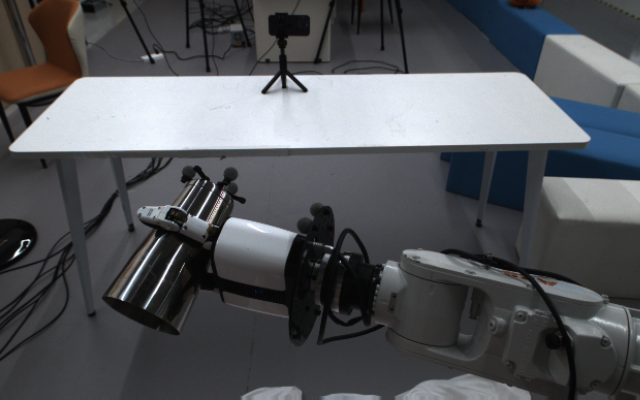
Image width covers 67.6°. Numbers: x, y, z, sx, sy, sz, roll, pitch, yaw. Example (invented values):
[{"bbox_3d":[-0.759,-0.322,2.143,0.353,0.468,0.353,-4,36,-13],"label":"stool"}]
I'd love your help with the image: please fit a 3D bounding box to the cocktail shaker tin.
[{"bbox_3d":[-0.169,0.060,0.571,0.093,0.093,0.170,13,58,16],"label":"cocktail shaker tin"}]
